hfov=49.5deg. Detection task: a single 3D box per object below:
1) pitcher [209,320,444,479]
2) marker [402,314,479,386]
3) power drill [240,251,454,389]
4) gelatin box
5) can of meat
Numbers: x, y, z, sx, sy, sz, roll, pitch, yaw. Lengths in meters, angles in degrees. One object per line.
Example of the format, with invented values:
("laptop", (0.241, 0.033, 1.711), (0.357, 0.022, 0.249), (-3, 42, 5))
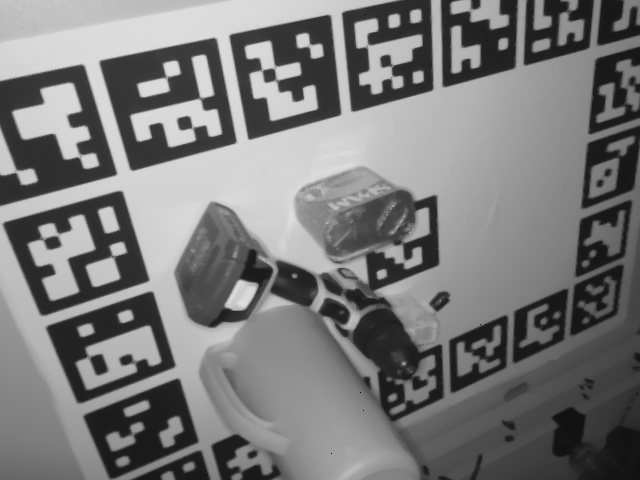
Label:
("pitcher", (0.003, 0.191, 0.702), (0.191, 0.241, 0.132), (13, 104, -36))
("marker", (0.153, 0.136, 0.871), (0.121, 0.019, 0.020), (-41, 123, -5))
("power drill", (0.025, 0.078, 0.688), (0.189, 0.184, 0.057), (19, 102, -25))
("gelatin box", (0.105, 0.114, 0.809), (0.090, 0.073, 0.030), (-7, 112, -21))
("can of meat", (0.061, -0.016, 0.718), (0.103, 0.083, 0.057), (-19, 121, -16))
